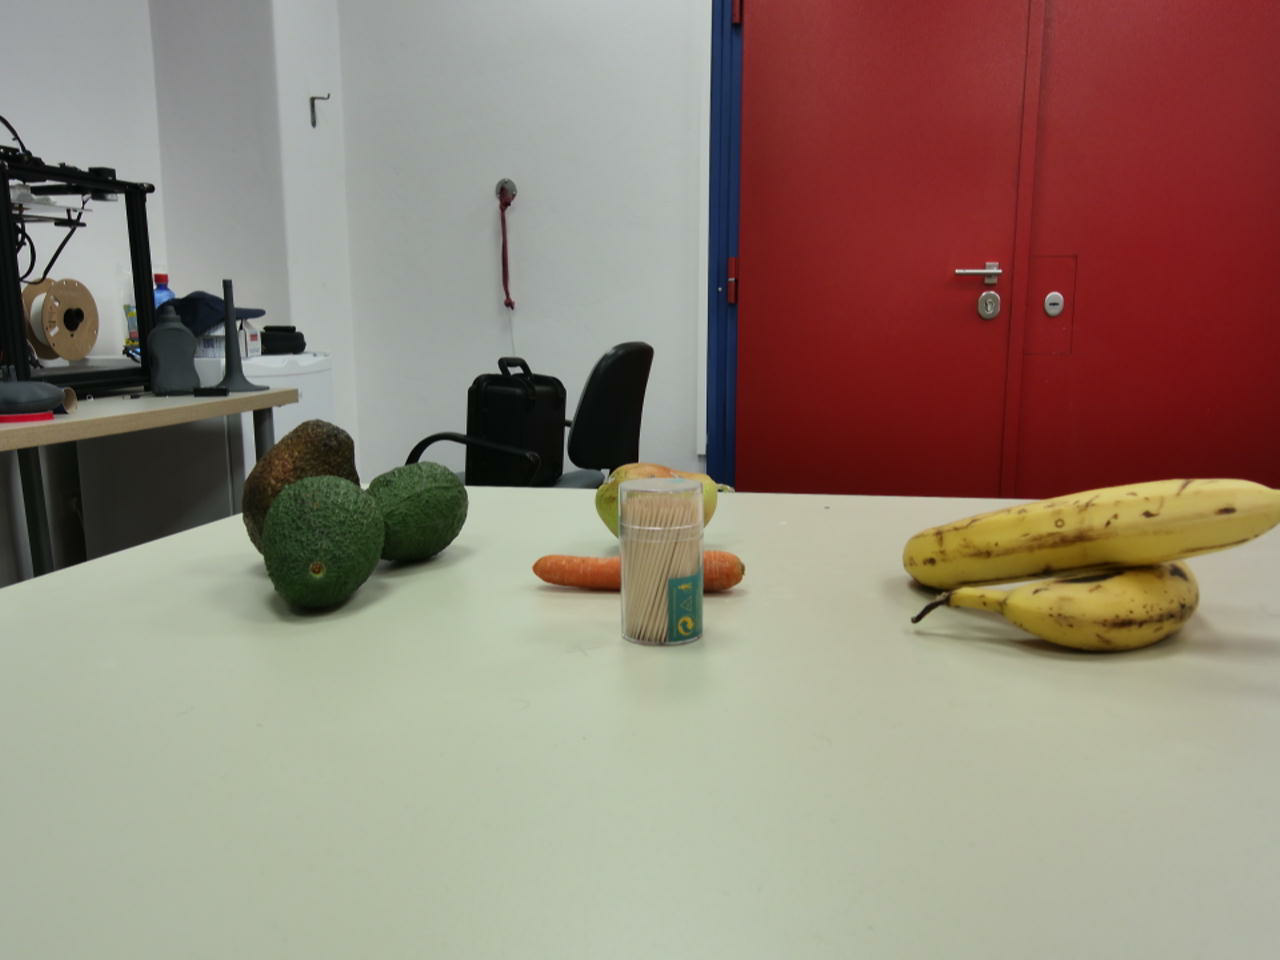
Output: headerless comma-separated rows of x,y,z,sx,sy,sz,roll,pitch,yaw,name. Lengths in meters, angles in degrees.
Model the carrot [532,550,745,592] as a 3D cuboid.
-0.001,0.051,0.570,0.122,0.023,0.024,1,7,8,carrot
